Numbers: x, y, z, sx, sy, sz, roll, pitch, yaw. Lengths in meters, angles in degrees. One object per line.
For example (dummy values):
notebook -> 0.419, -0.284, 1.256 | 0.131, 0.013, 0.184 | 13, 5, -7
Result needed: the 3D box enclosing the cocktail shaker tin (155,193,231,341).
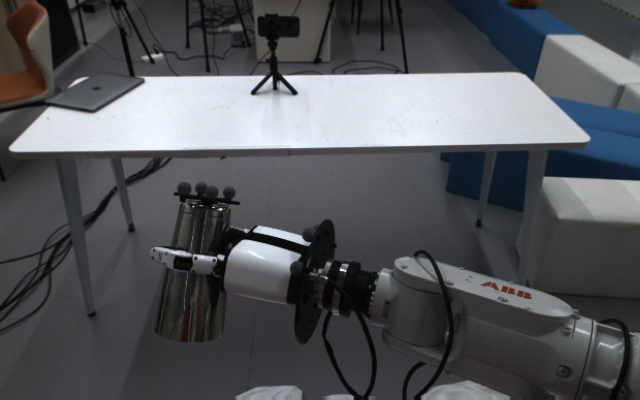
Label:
cocktail shaker tin -> -0.162, 0.091, 0.644 | 0.093, 0.170, 0.093 | 8, 3, 0
